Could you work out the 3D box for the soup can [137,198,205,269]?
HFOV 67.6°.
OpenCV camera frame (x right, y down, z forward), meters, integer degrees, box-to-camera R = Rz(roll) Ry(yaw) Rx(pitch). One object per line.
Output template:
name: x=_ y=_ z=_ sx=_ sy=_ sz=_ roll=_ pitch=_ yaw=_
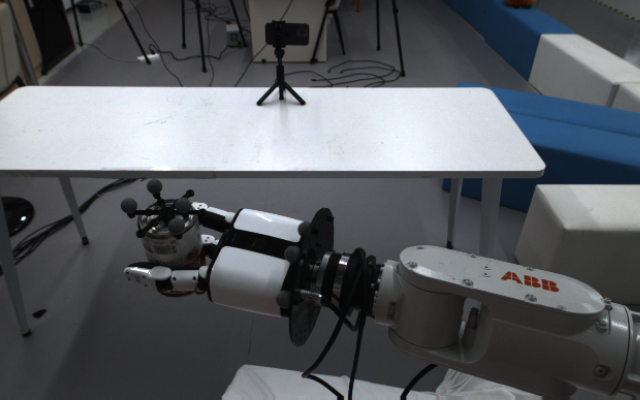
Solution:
soup can: x=-0.172 y=0.059 z=0.581 sx=0.067 sy=0.101 sz=0.067 roll=1 pitch=39 yaw=-1
